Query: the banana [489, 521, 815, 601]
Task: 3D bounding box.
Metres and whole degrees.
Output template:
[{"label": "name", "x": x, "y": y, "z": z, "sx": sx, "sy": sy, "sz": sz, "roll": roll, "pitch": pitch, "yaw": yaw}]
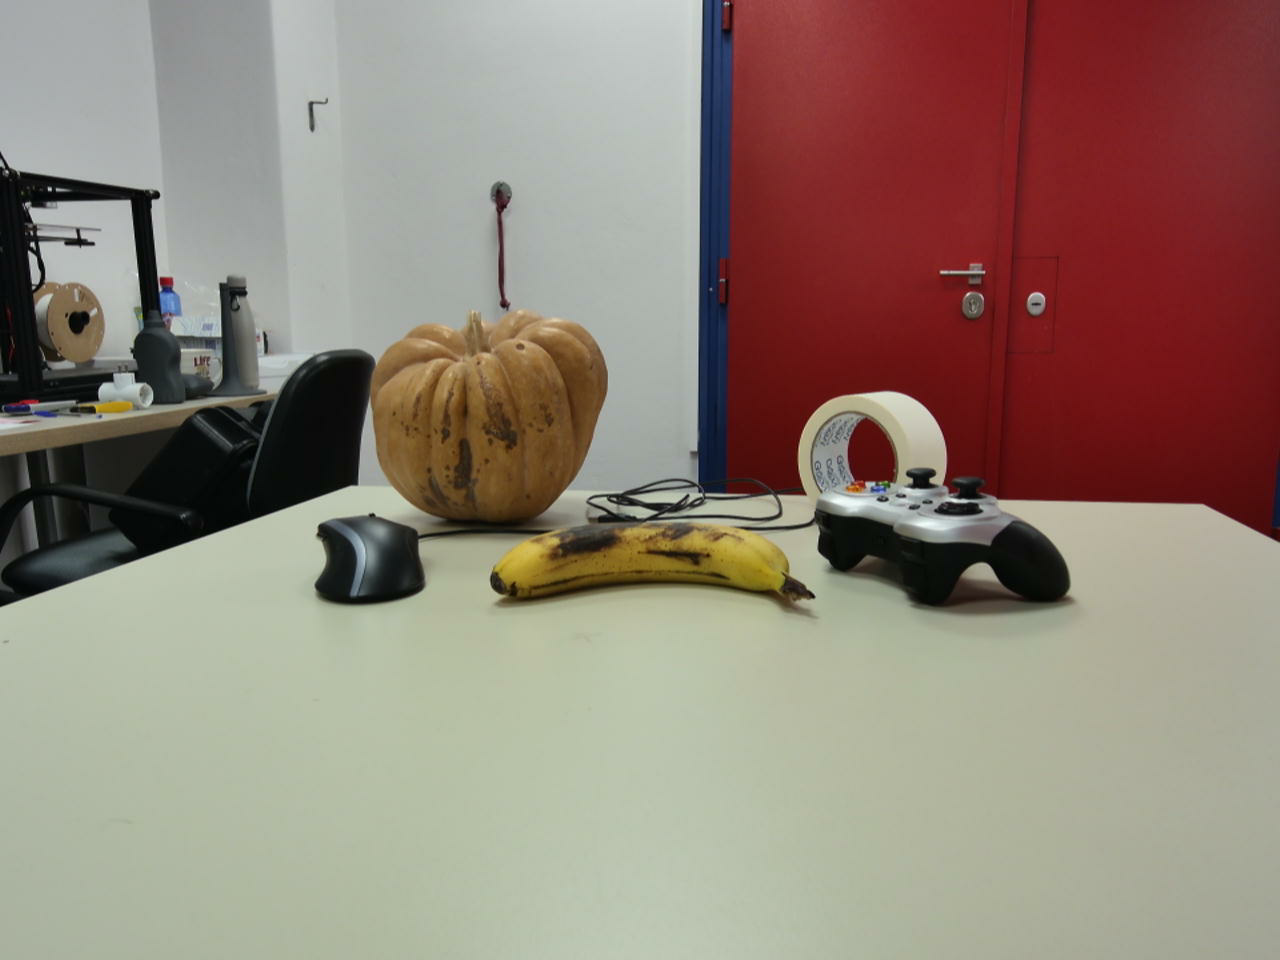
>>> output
[{"label": "banana", "x": 0.010, "y": 0.050, "z": 0.608, "sx": 0.187, "sy": 0.039, "sz": 0.094, "roll": 1, "pitch": 7, "yaw": 9}]
